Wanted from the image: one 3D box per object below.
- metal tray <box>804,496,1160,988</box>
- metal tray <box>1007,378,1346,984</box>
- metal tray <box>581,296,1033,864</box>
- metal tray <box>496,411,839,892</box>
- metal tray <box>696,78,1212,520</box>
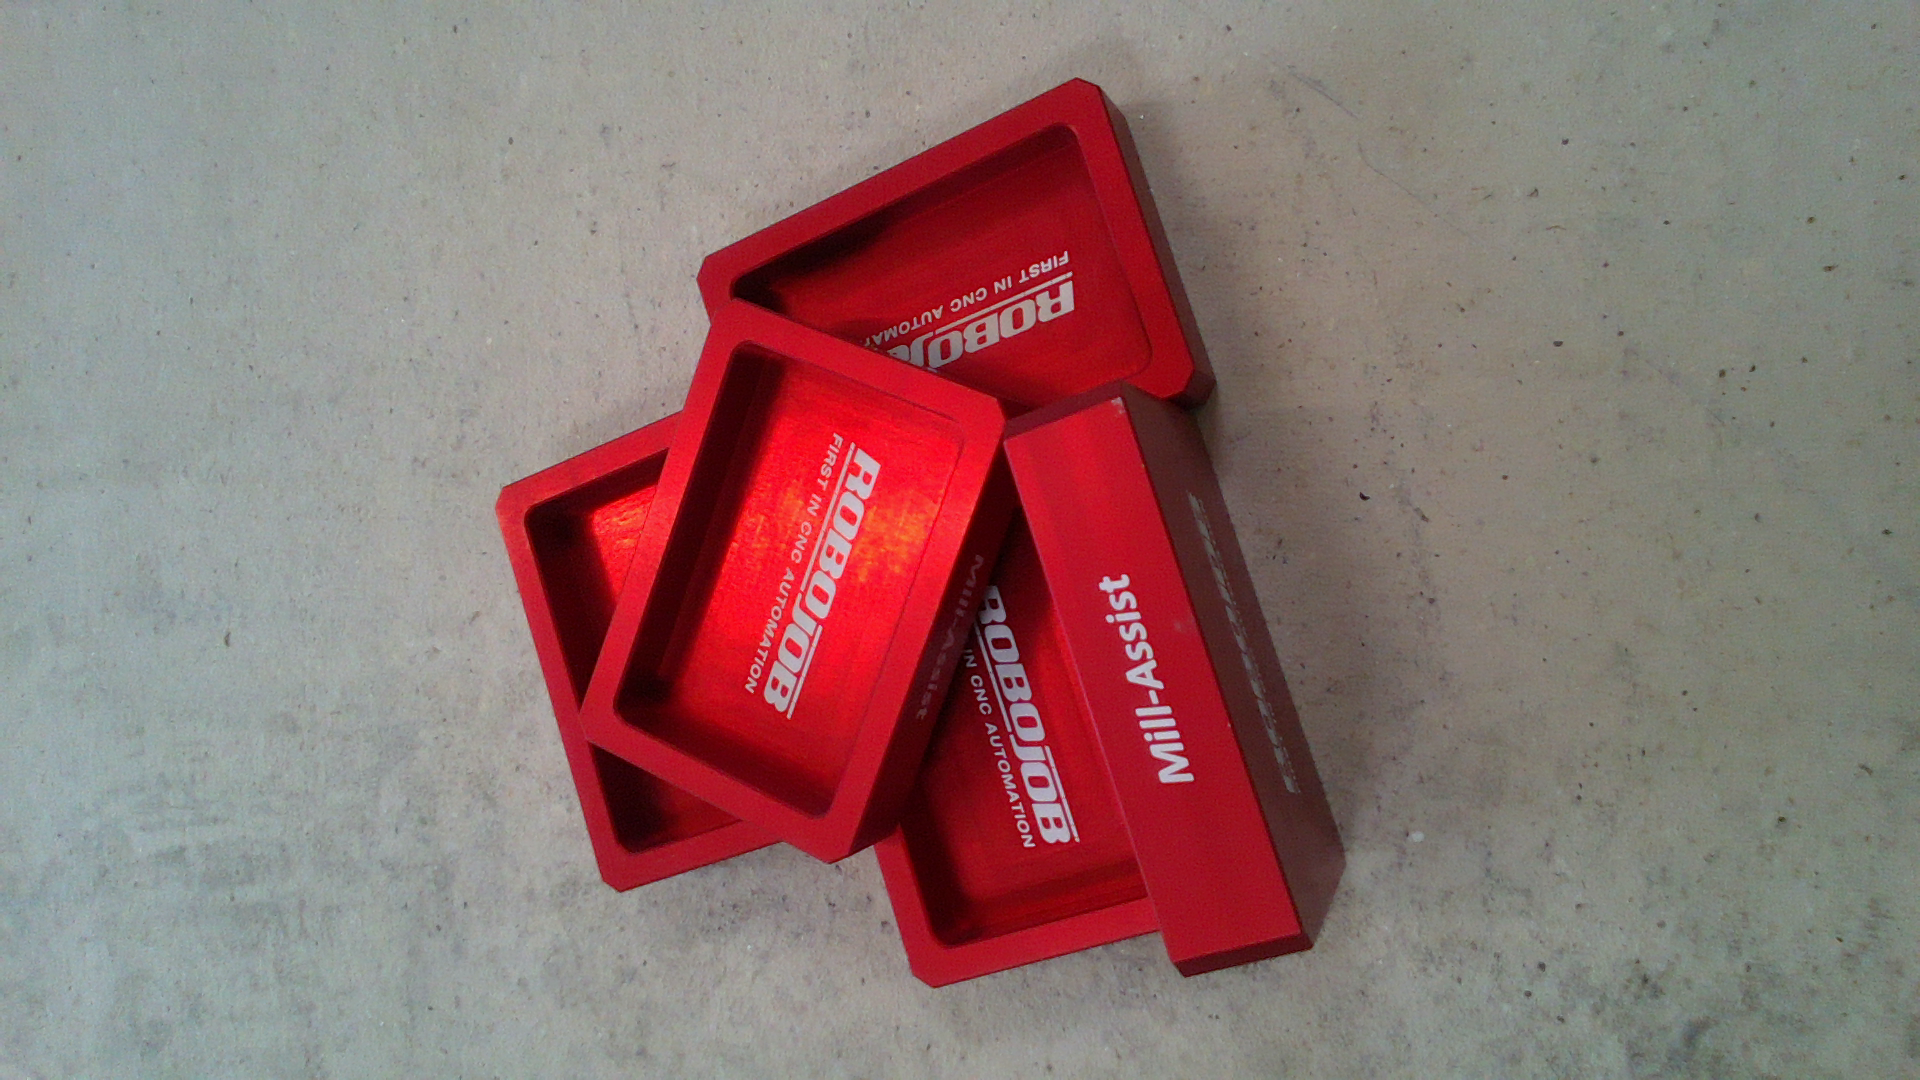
[{"bbox_3d":[0.012,0.049,0.387,0.090,0.030,0.130,-21,84,20],"label":"metal tray"},{"bbox_3d":[0.057,0.030,0.339,0.030,0.090,0.130,-19,84,19],"label":"metal tray"},{"bbox_3d":[-0.042,0.010,0.378,0.090,0.030,0.130,23,98,19],"label":"metal tray"},{"bbox_3d":[-0.083,0.032,0.422,0.090,0.030,0.130,-20,83,19],"label":"metal tray"},{"bbox_3d":[-0.004,-0.062,0.396,0.130,0.030,0.090,-20,83,19],"label":"metal tray"}]
